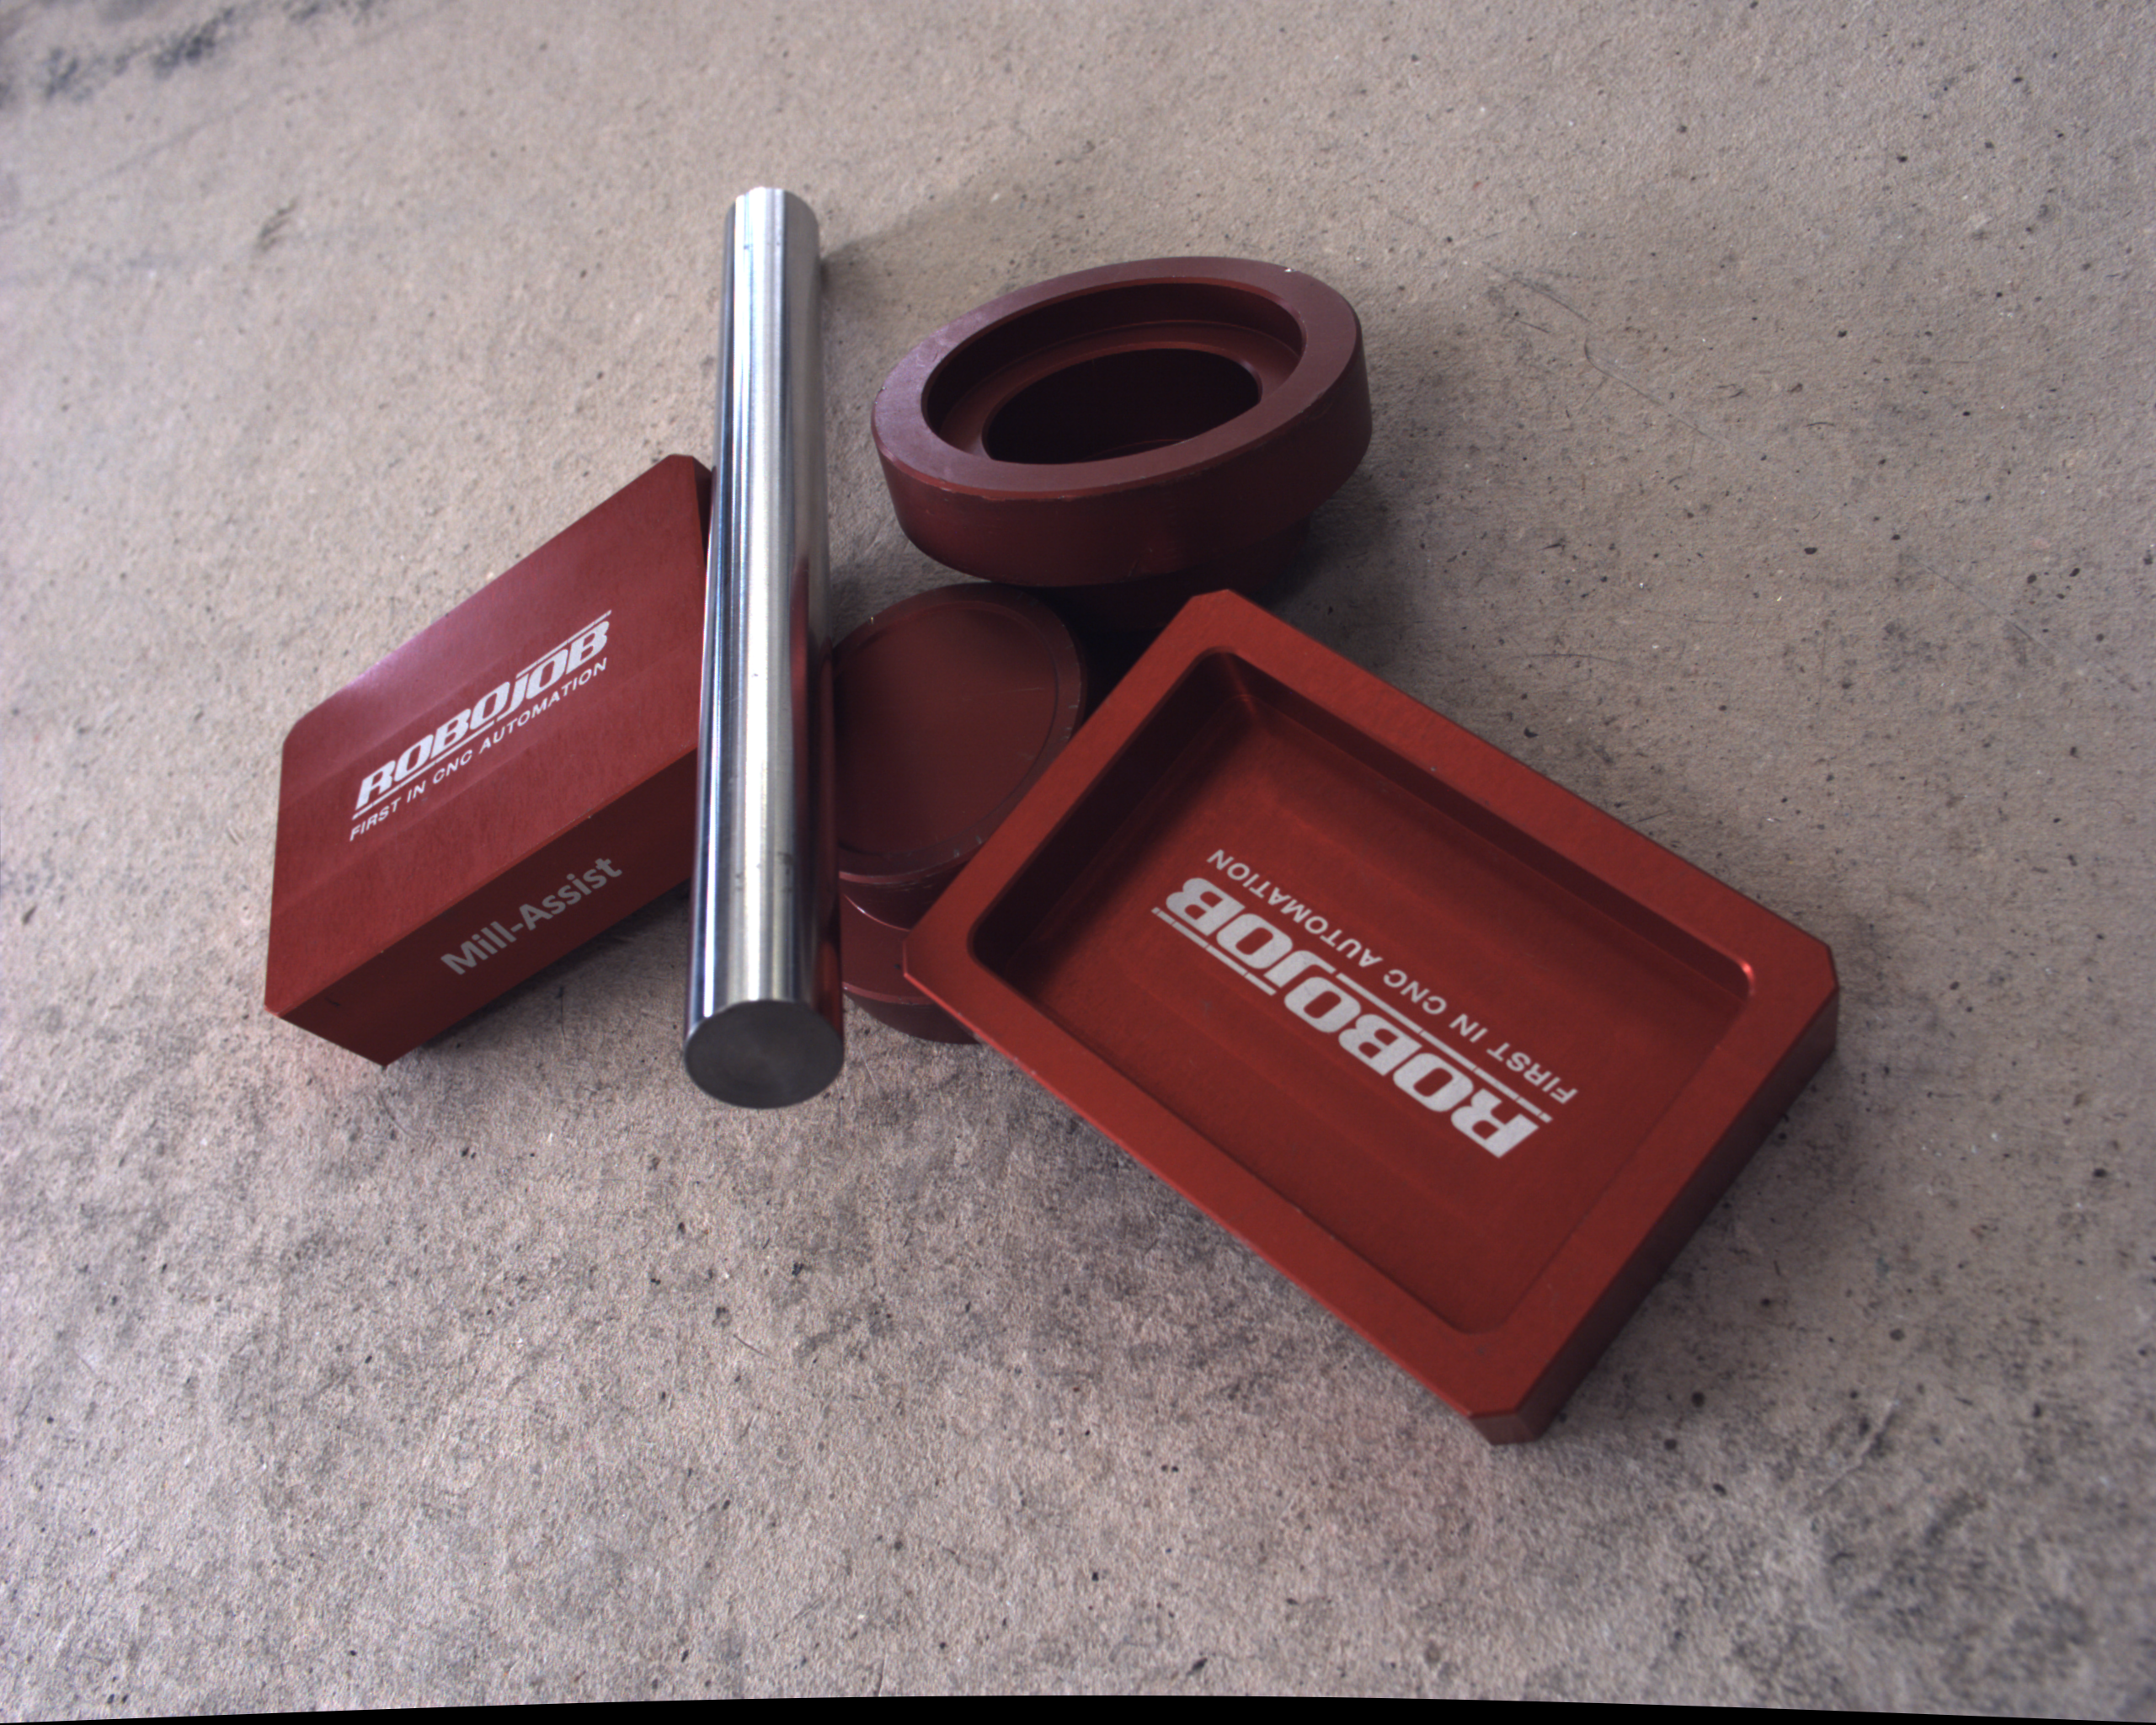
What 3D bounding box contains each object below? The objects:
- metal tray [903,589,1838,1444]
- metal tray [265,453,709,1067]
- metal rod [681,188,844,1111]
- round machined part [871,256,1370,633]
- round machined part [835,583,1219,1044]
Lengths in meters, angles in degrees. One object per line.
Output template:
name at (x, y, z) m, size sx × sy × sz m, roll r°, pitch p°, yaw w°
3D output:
metal tray at (0.046, 0.021, 0.351) m, size 0.130 × 0.030 × 0.090 m, roll 35°, pitch 81°, yaw 28°
metal tray at (-0.123, -0.023, 0.467) m, size 0.130 × 0.030 × 0.090 m, roll -30°, pitch 49°, yaw 19°
metal rod at (-0.065, -0.068, 0.438) m, size 0.025 × 0.025 × 0.300 m, roll -24°, pitch 40°, yaw 13°
round machined part at (0.011, -0.083, 0.426) m, size 0.098 × 0.042 × 0.098 m, roll -9°, pitch 38°, yaw 7°
round machined part at (-0.021, -0.016, 0.416) m, size 0.098 × 0.042 × 0.098 m, roll -13°, pitch 56°, yaw 21°
